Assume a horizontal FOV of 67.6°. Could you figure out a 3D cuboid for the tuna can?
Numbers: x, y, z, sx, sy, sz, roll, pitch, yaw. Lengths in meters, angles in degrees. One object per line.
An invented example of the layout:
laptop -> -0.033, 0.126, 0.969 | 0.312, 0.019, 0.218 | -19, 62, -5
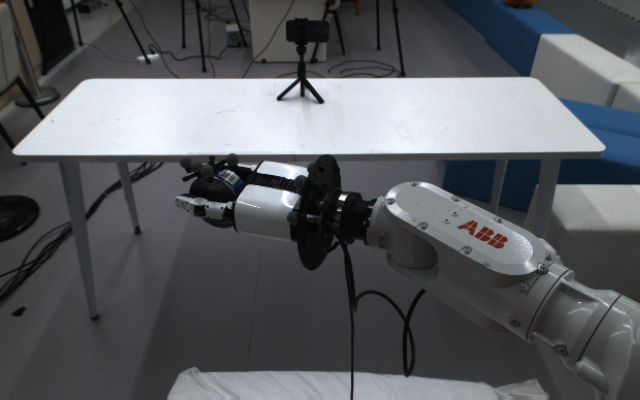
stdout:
tuna can -> -0.143, -0.002, 0.705 | 0.085, 0.085, 0.034 | 13, 33, 16
